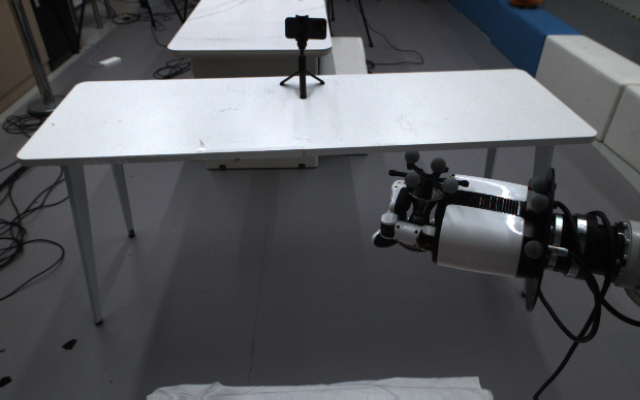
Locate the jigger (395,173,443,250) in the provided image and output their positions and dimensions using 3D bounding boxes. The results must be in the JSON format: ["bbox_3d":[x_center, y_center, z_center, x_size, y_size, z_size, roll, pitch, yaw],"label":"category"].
[{"bbox_3d":[0.119,0.021,0.570,0.043,0.071,0.043,6,26,-3],"label":"jigger"}]
